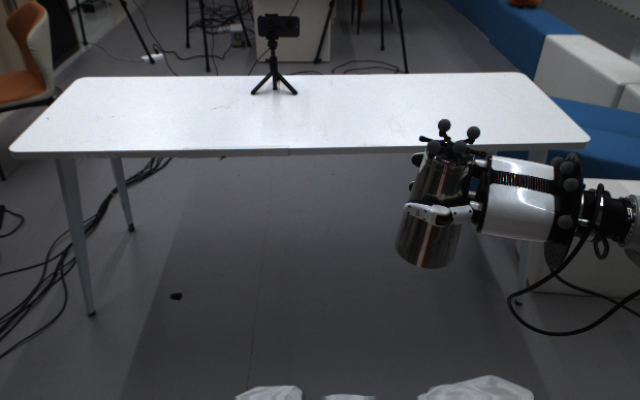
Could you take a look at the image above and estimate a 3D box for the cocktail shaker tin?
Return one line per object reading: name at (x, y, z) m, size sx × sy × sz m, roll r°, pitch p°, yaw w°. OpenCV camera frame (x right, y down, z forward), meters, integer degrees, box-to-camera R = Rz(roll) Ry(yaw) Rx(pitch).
cocktail shaker tin at (0.169, 0.003, 0.693) m, size 0.093 × 0.170 × 0.093 m, roll 4°, pitch 36°, yaw -3°
